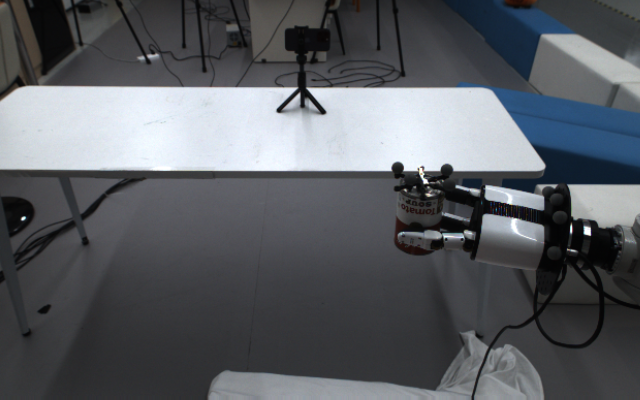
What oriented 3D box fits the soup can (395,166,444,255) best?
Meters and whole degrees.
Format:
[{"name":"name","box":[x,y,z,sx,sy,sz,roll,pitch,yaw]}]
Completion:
[{"name":"soup can","box":[0.147,0.019,0.712,0.067,0.101,0.067,-2,34,1]}]
